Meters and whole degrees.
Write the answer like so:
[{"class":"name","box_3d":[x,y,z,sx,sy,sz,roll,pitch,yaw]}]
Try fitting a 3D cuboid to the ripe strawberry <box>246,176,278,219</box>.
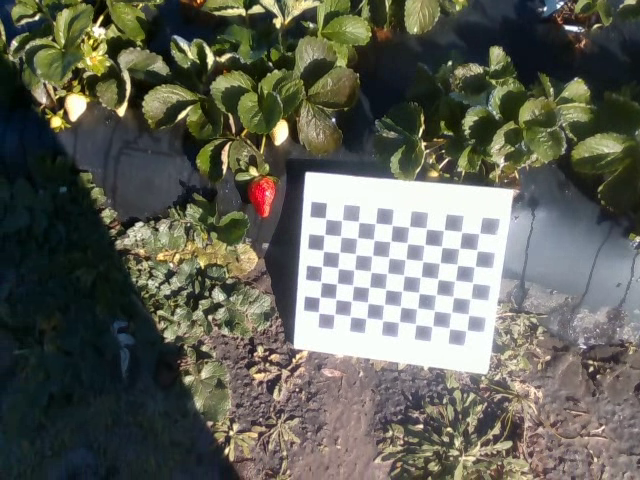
[{"class":"ripe strawberry","box_3d":[-0.083,-0.062,0.931,0.048,0.069,0.040,-12,1,13]}]
